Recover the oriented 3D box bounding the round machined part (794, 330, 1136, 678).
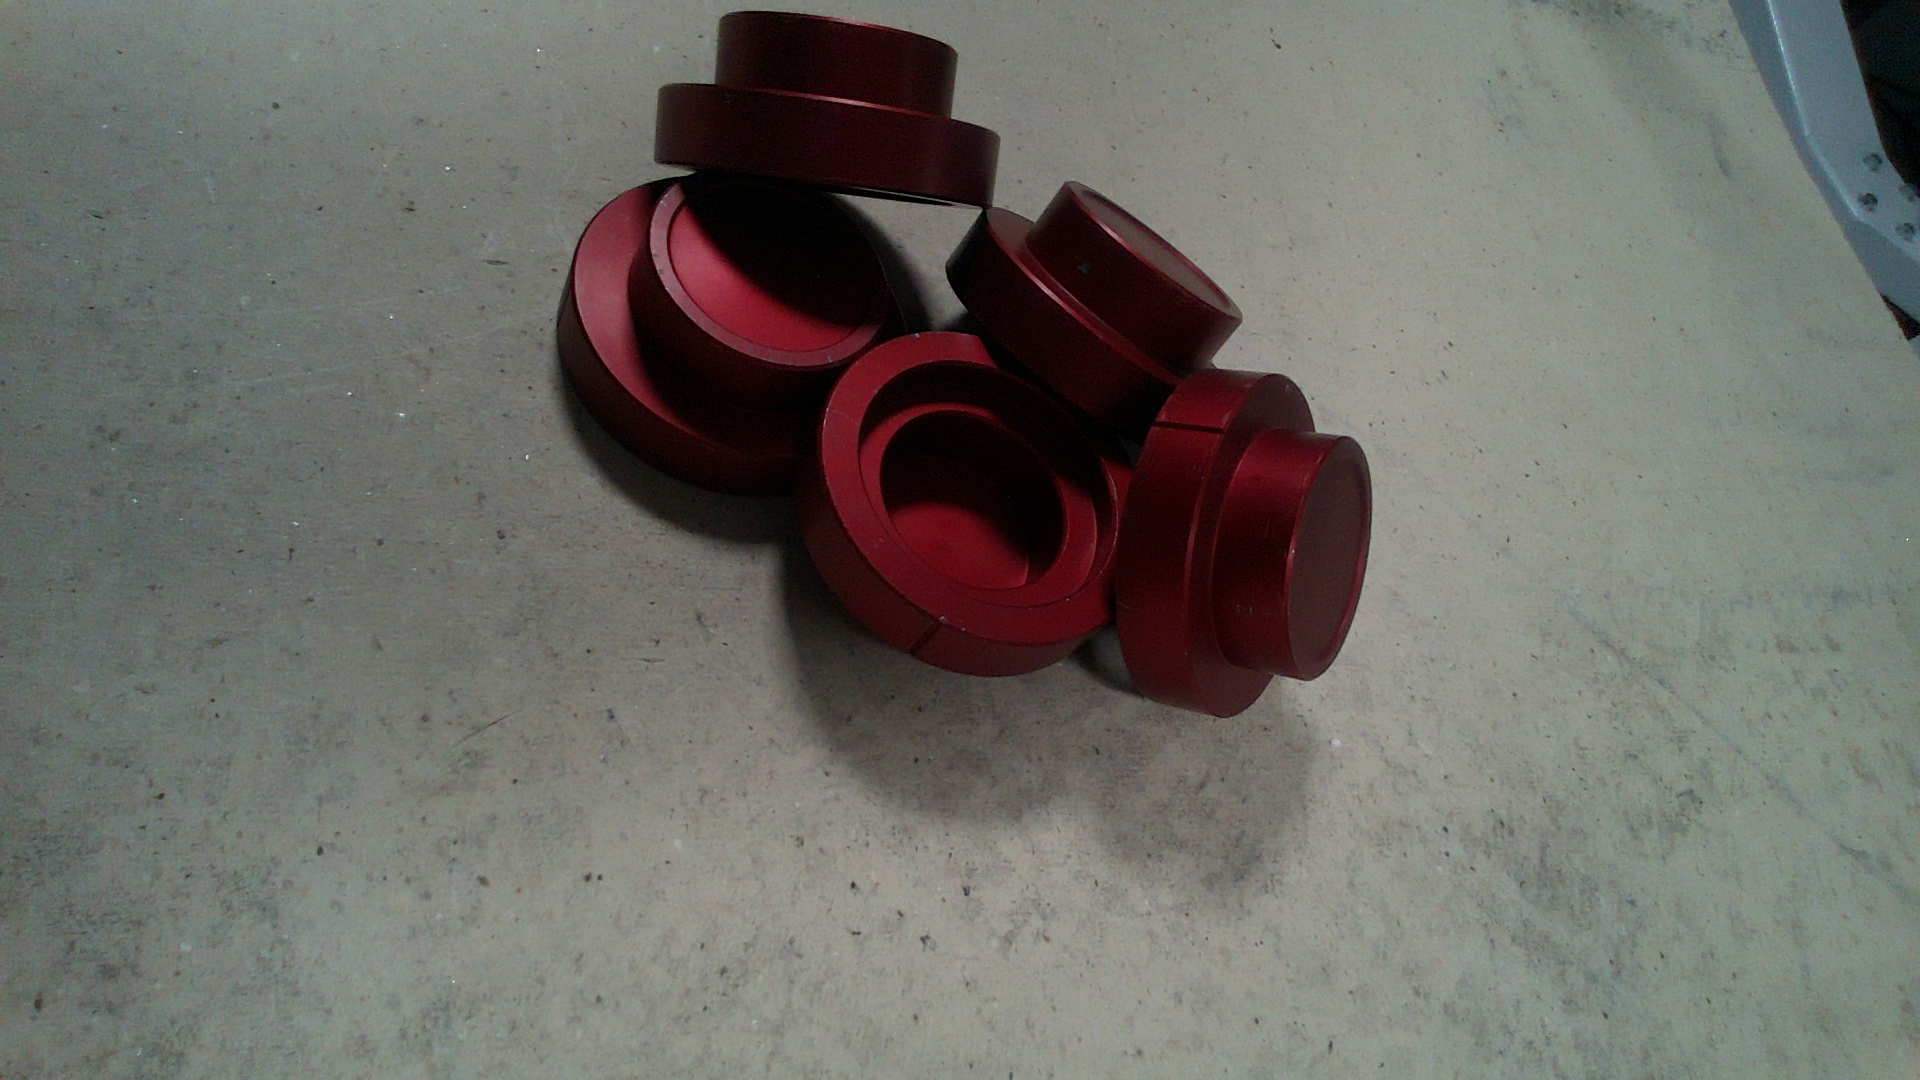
[{"bbox_3d":[0.000,-0.007,0.383,0.098,0.042,0.098,14,56,-21],"label":"round machined part"}]

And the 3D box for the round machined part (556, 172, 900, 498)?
[{"bbox_3d":[-0.060,-0.064,0.387,0.098,0.042,0.098,14,56,-21],"label":"round machined part"}]

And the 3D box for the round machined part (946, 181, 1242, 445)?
[{"bbox_3d":[0.047,-0.073,0.421,0.098,0.042,0.098,33,21,-14],"label":"round machined part"}]

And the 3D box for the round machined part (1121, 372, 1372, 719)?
[{"bbox_3d":[0.085,0.003,0.387,0.042,0.098,0.098,11,43,30],"label":"round machined part"}]

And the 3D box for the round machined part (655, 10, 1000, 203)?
[{"bbox_3d":[-0.037,-0.124,0.398,0.098,0.098,0.042,1,103,-28],"label":"round machined part"}]
